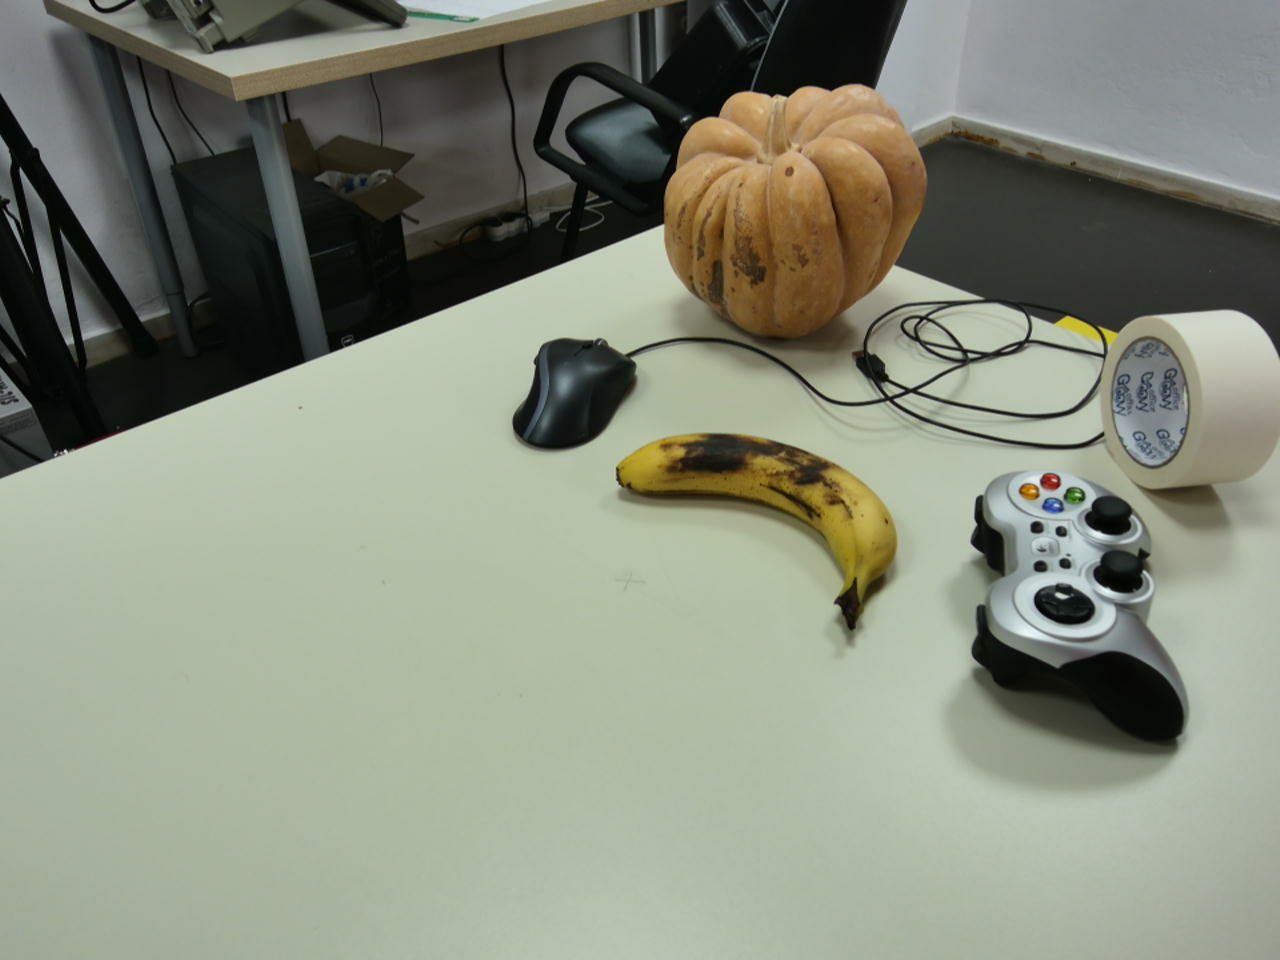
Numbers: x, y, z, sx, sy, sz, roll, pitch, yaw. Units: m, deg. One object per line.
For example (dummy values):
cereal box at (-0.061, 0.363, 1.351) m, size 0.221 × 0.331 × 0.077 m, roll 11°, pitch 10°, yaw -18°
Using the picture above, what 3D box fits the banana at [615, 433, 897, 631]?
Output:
banana at (0.079, 0.013, 0.597) m, size 0.094 × 0.039 × 0.187 m, roll -29°, pitch 45°, yaw -33°
